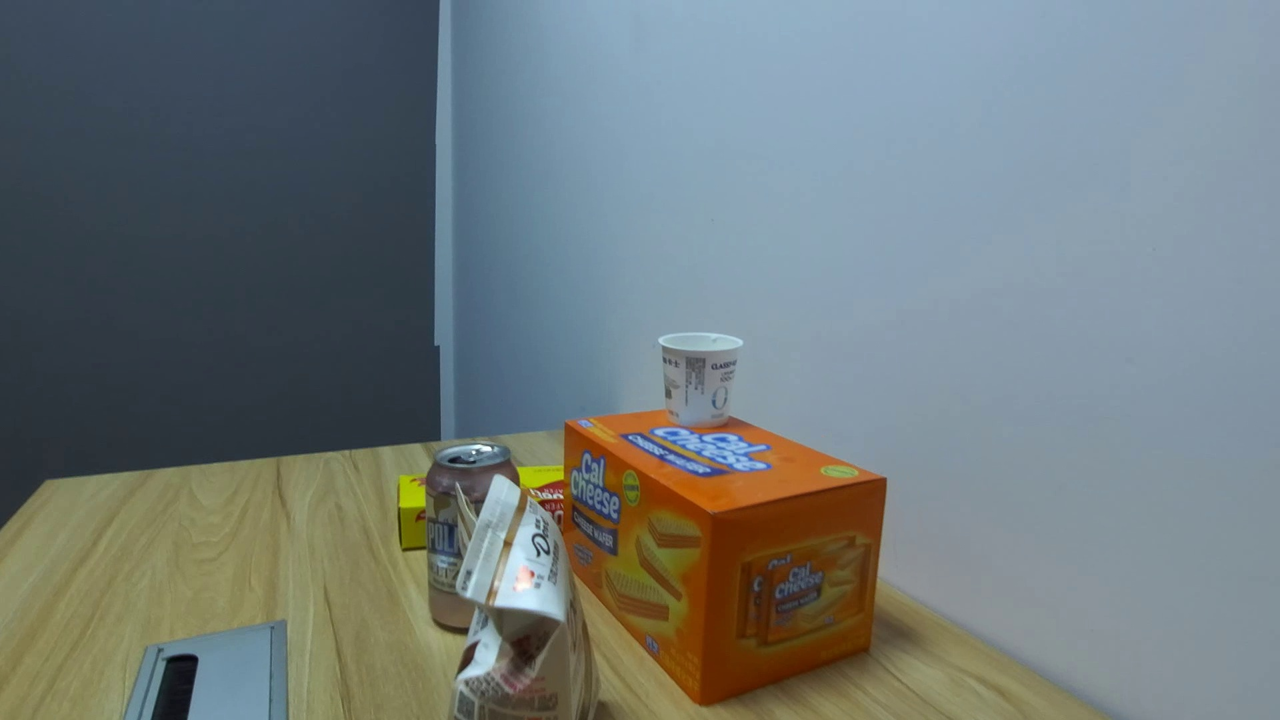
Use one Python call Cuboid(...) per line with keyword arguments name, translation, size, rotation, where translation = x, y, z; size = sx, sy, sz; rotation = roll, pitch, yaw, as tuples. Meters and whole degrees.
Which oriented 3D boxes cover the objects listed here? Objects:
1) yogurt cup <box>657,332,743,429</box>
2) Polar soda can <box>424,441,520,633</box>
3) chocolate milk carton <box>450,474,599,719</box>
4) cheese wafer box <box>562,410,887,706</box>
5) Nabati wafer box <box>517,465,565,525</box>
Cuboid(name="yogurt cup", translation=(0.049, 0.017, 0.591), size=(0.072, 0.068, 0.072), rotation=(1, 14, 0))
Cuboid(name="Polar soda can", translation=(-0.123, 0.128, 0.521), size=(0.067, 0.125, 0.067), rotation=(2, 10, 0))
Cuboid(name="chocolate milk carton", translation=(-0.067, 0.143, 0.376), size=(0.076, 0.155, 0.089), rotation=(-1, 24, 6))
Cuboid(name="cheese wafer box", translation=(0.049, 0.126, 0.538), size=(0.149, 0.129, 0.221), rotation=(-4, 12, -29))
Cuboid(name="Nabati wafer box", translation=(-0.127, 0.136, 0.684), size=(0.204, 0.042, 0.096), rotation=(-3, 7, -13))
